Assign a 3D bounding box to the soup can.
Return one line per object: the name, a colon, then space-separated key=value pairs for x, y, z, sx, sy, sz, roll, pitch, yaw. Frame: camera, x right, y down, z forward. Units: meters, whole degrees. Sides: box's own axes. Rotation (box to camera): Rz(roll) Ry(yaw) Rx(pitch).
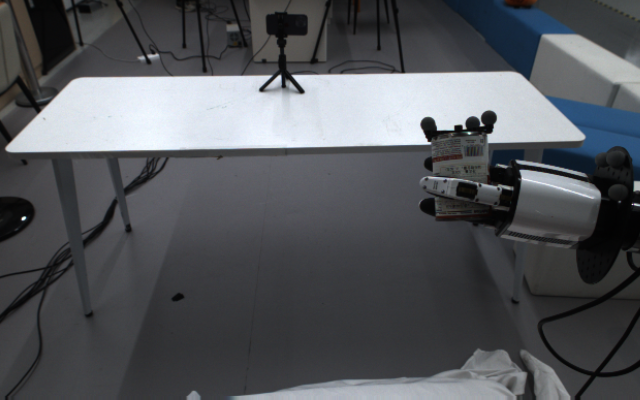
soup can: x=0.172 y=-0.027 z=0.584 sx=0.067 sy=0.101 sz=0.067 roll=-3 pitch=-1 yaw=0
